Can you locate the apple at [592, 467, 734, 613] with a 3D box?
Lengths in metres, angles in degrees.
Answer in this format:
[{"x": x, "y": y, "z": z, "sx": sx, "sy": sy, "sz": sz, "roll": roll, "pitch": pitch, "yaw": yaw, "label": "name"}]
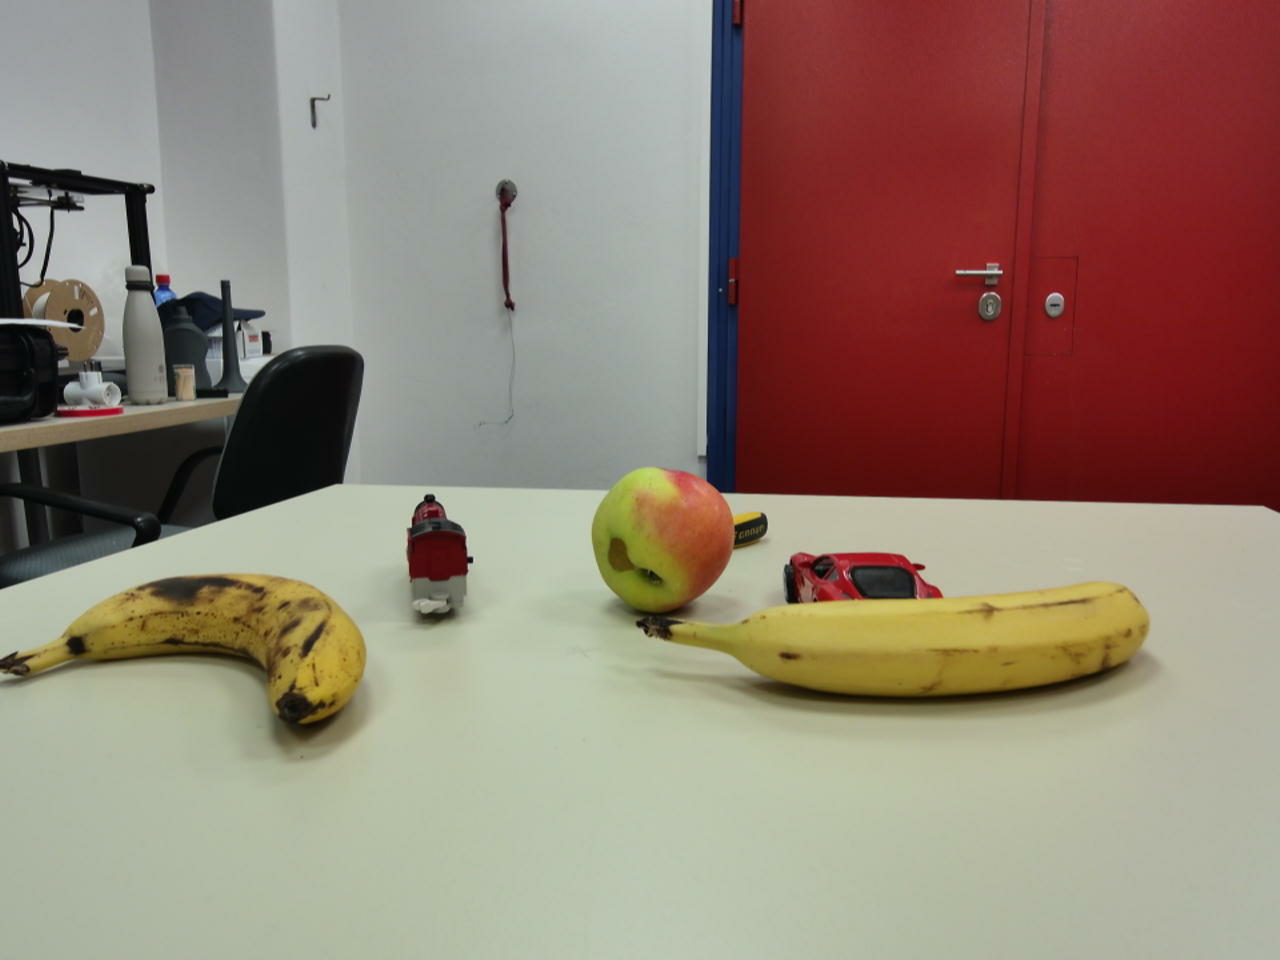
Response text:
[{"x": 0.013, "y": 0.031, "z": 0.526, "sx": 0.075, "sy": 0.074, "sz": 0.075, "roll": -1, "pitch": 6, "yaw": -8, "label": "apple"}]
